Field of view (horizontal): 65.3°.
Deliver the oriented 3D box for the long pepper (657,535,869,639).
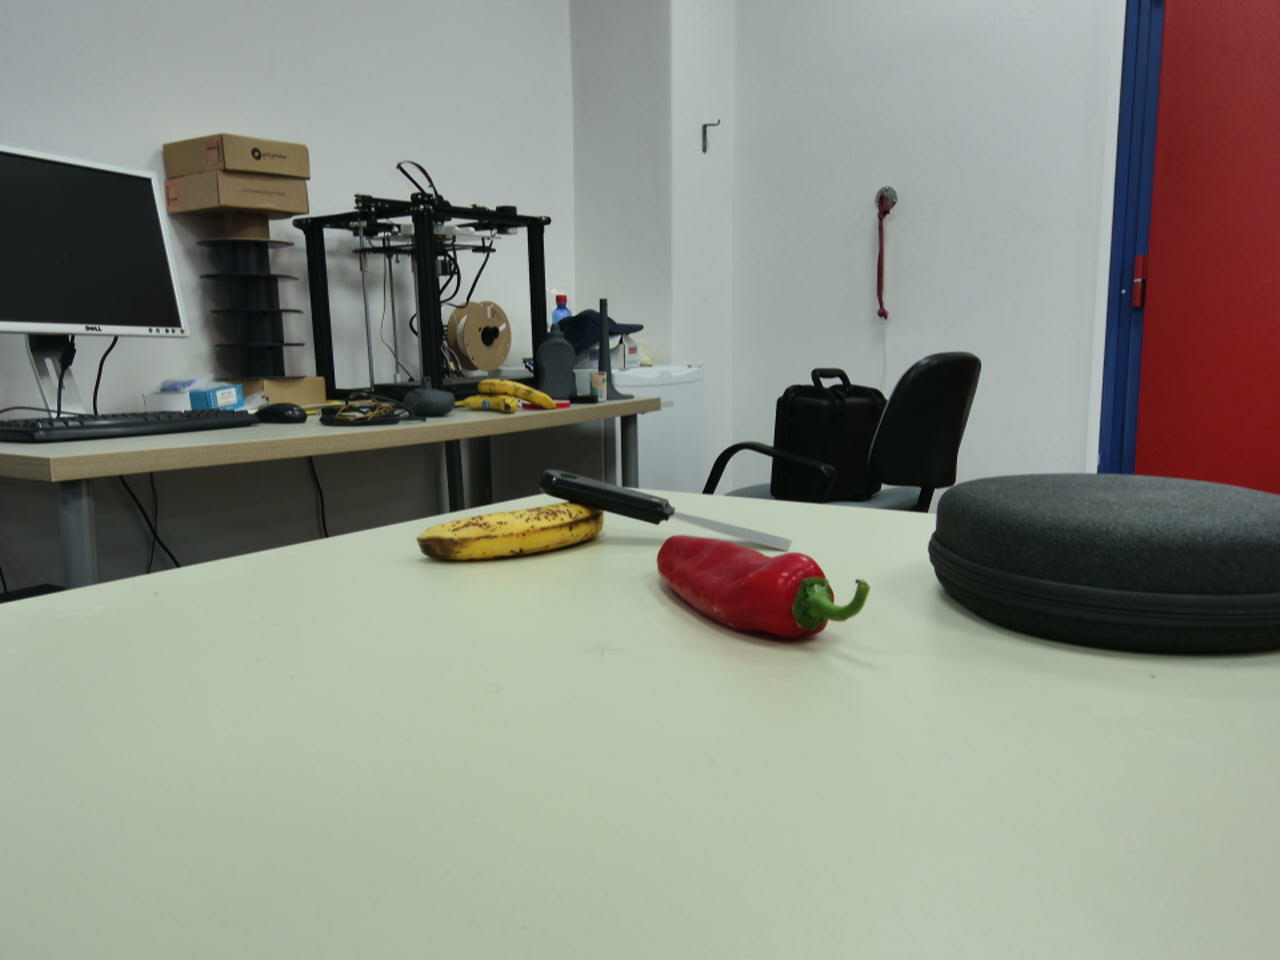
[{"bbox_3d":[0.053,0.053,0.549,0.050,0.043,0.211,-2,6,-22],"label":"long pepper"}]
